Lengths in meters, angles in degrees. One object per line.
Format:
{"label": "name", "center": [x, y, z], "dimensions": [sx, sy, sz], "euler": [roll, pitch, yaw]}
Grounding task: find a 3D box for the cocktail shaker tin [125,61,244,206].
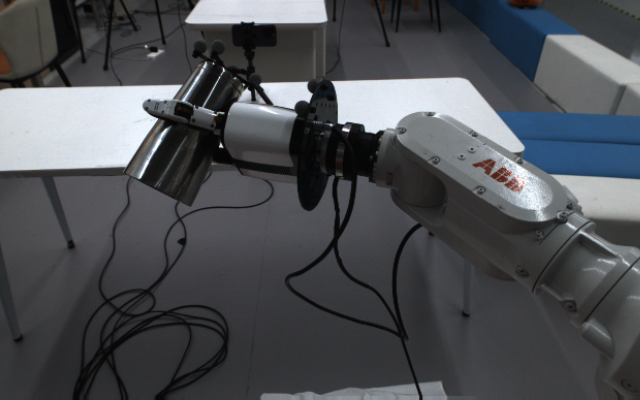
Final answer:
{"label": "cocktail shaker tin", "center": [-0.165, -0.090, 0.618], "dimensions": [0.093, 0.093, 0.170], "euler": [21, 81, 26]}
